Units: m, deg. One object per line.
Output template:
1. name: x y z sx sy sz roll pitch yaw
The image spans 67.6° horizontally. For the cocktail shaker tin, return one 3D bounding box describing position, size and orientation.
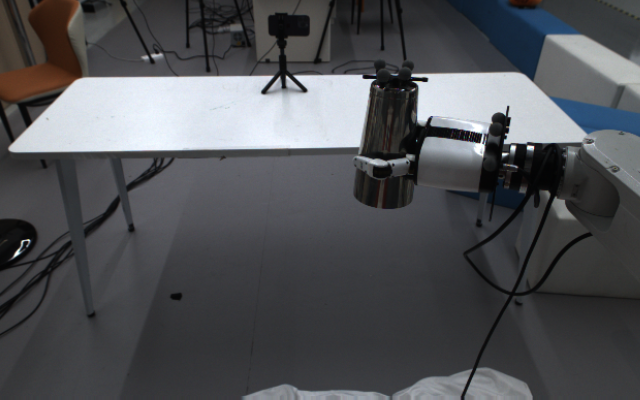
1. cocktail shaker tin: 0.101 -0.085 0.703 0.093 0.170 0.093 2 28 -1
